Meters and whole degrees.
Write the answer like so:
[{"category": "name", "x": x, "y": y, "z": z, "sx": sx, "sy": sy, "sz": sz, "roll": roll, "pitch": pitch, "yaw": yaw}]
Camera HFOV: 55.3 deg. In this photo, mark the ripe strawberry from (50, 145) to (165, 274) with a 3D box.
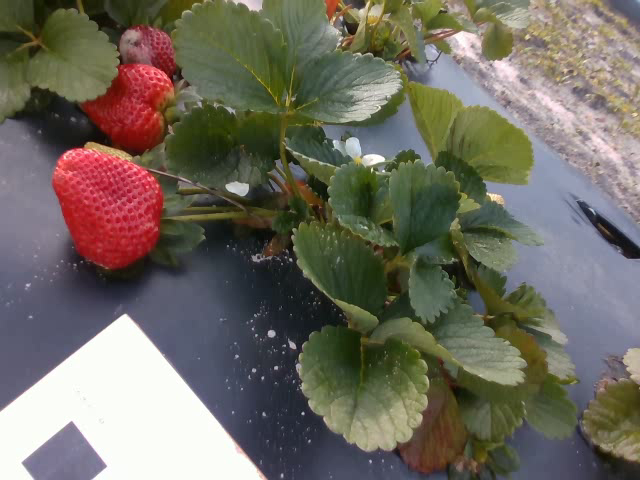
[{"category": "ripe strawberry", "x": -0.044, "y": -0.008, "z": 0.121, "sx": 0.022, "sy": 0.025, "sz": 0.030, "roll": 21, "pitch": -15, "yaw": 30}]
